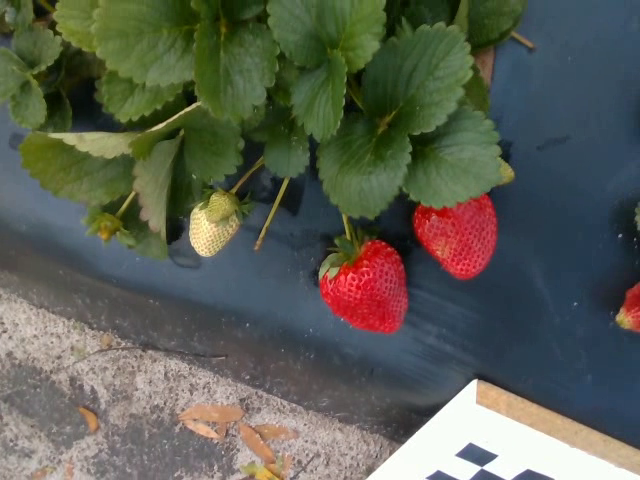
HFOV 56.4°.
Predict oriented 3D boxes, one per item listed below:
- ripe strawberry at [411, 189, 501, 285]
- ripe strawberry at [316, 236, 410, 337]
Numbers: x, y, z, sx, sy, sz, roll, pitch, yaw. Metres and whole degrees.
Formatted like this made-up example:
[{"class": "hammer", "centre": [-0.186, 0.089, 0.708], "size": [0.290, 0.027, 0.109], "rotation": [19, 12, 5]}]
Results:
[{"class": "ripe strawberry", "centre": [0.084, -0.001, 0.364], "size": [0.051, 0.060, 0.051], "rotation": [0, -20, -43]}, {"class": "ripe strawberry", "centre": [0.032, 0.036, 0.381], "size": [0.059, 0.065, 0.043], "rotation": [-21, 16, 40]}]
